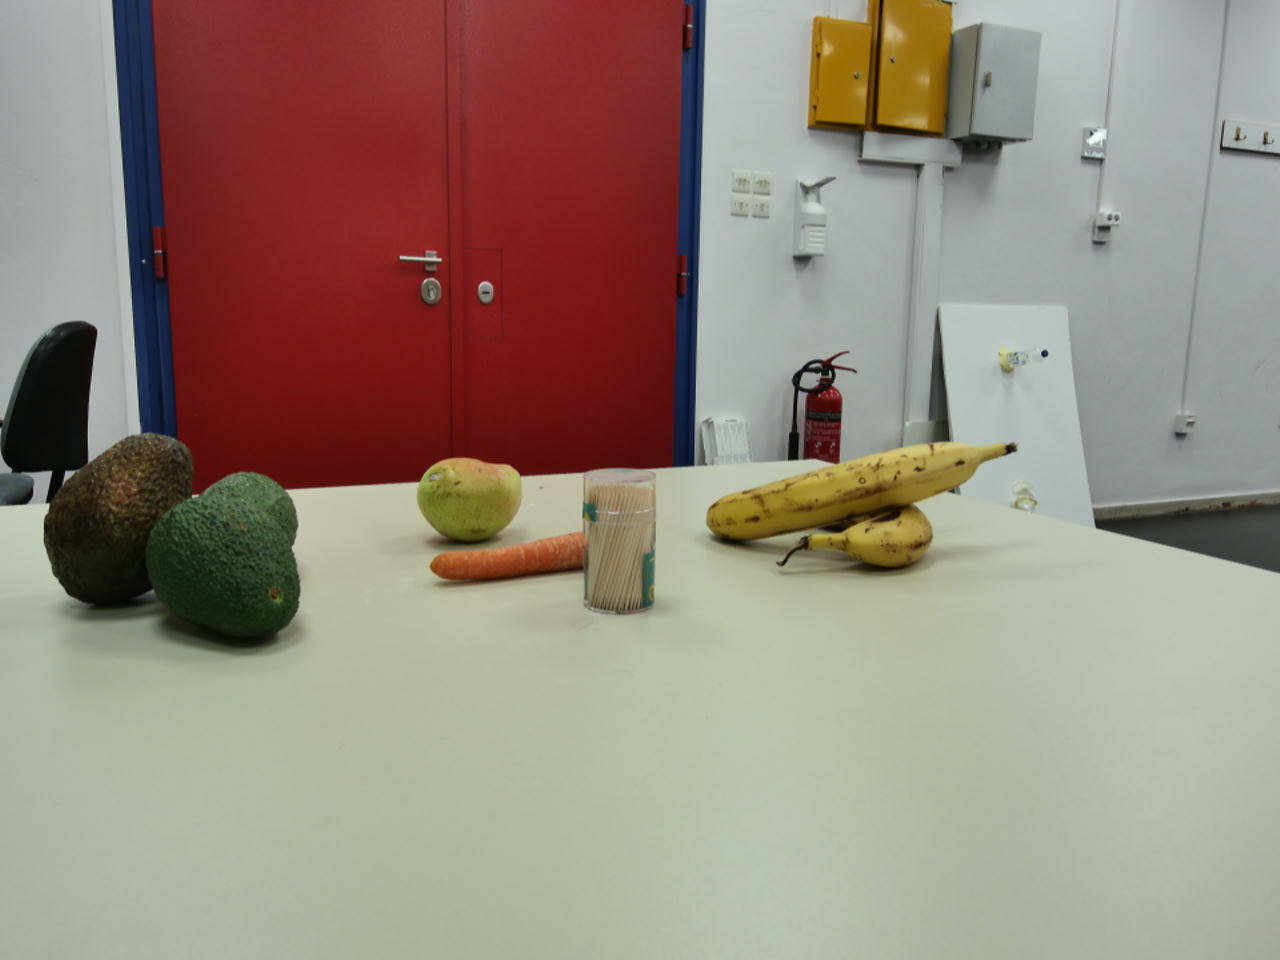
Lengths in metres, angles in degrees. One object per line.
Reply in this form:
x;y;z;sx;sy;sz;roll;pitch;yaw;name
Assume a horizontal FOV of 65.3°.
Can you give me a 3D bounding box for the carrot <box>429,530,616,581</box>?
-0.070;0.047;0.621;0.122;0.023;0.024;-4;9;-27;carrot
